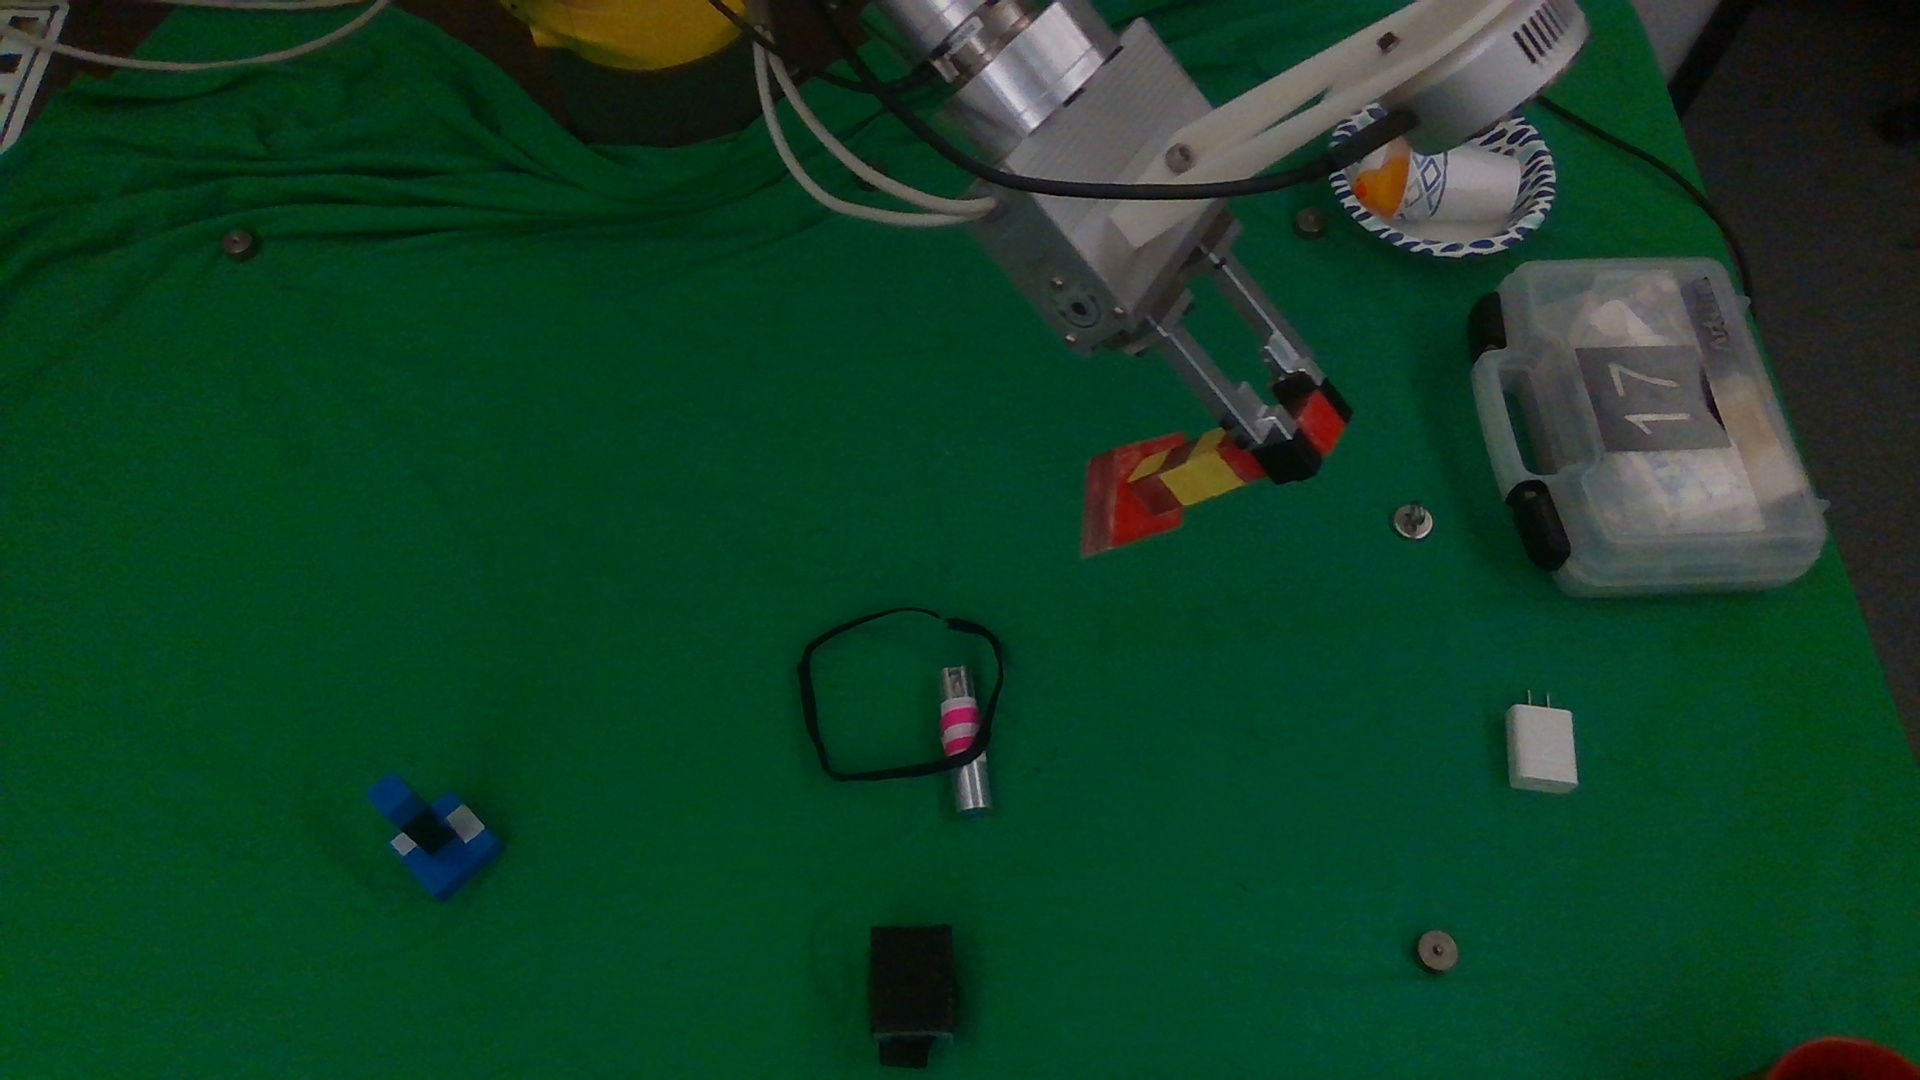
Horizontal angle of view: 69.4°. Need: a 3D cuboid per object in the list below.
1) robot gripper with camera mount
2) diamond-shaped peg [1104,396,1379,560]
[{"bbox_3d":[0.149,-0.117,0.488,0.158,0.194,0.119,48,46,-17],"label":"robot gripper with camera mount"},{"bbox_3d":[0.119,-0.031,0.590,0.045,0.122,0.074,21,65,-32],"label":"diamond-shaped peg"}]
